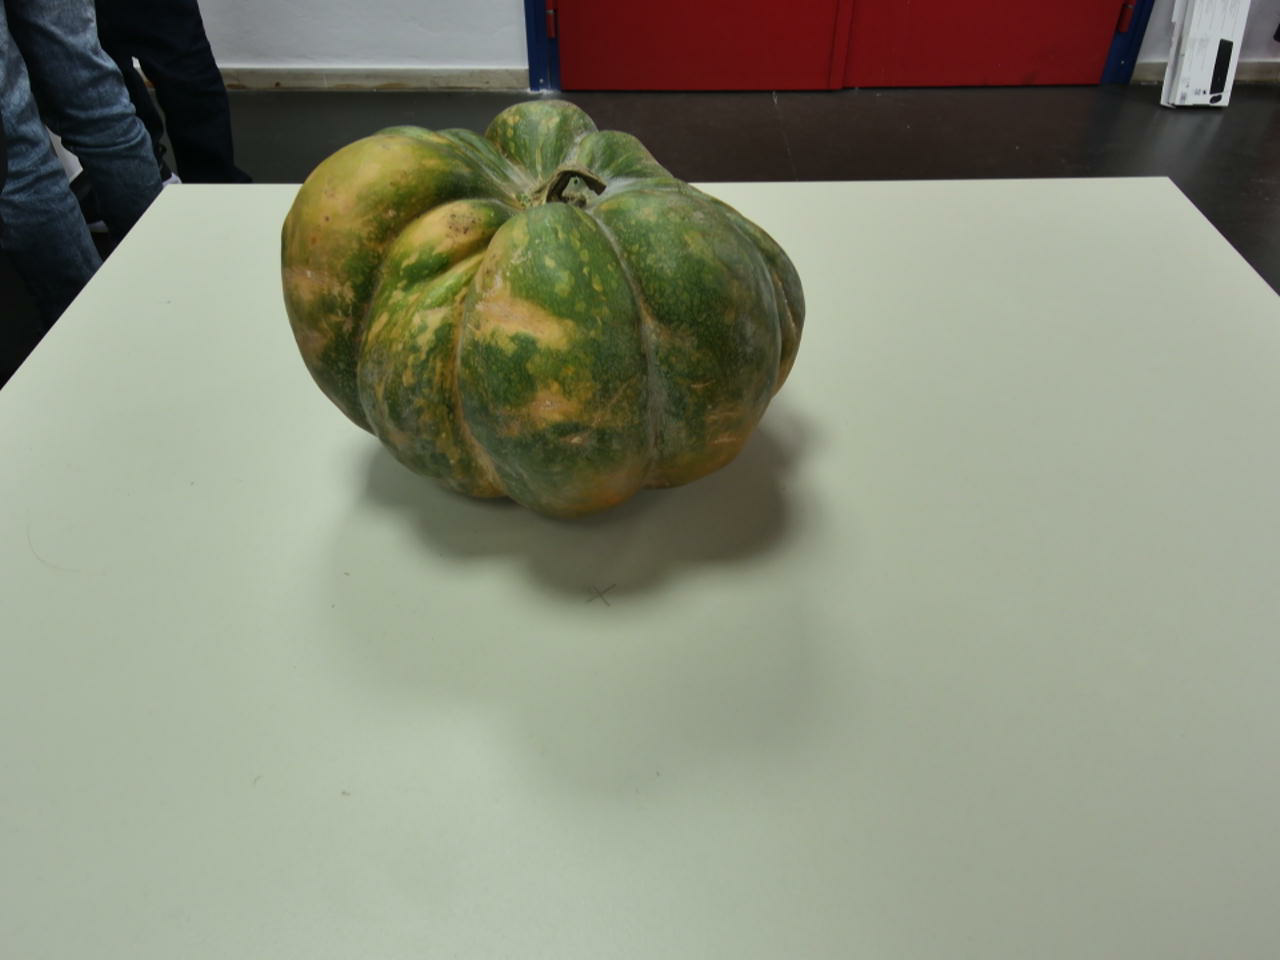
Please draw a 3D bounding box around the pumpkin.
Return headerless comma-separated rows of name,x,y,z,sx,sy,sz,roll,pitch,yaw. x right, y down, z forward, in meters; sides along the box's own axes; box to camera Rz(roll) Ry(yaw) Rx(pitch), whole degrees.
pumpkin,-0.046,-0.095,0.513,0.270,0.173,0.237,25,46,28
